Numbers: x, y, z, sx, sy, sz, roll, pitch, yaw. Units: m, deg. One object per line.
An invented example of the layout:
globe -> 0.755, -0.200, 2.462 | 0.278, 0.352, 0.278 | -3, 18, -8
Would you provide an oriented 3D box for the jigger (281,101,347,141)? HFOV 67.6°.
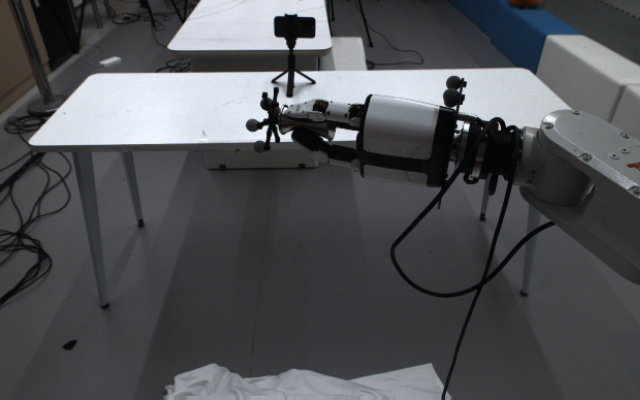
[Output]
jigger -> -0.010, -0.107, 0.636 | 0.071, 0.043, 0.043 | 8, 35, 15
